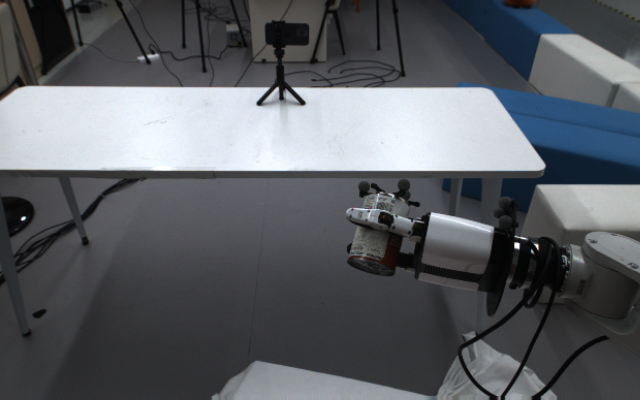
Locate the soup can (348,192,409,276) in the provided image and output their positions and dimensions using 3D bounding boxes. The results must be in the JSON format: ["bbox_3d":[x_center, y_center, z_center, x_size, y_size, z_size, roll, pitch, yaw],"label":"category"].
[{"bbox_3d":[0.085,0.047,0.676,0.067,0.067,0.101,12,70,14],"label":"soup can"}]
